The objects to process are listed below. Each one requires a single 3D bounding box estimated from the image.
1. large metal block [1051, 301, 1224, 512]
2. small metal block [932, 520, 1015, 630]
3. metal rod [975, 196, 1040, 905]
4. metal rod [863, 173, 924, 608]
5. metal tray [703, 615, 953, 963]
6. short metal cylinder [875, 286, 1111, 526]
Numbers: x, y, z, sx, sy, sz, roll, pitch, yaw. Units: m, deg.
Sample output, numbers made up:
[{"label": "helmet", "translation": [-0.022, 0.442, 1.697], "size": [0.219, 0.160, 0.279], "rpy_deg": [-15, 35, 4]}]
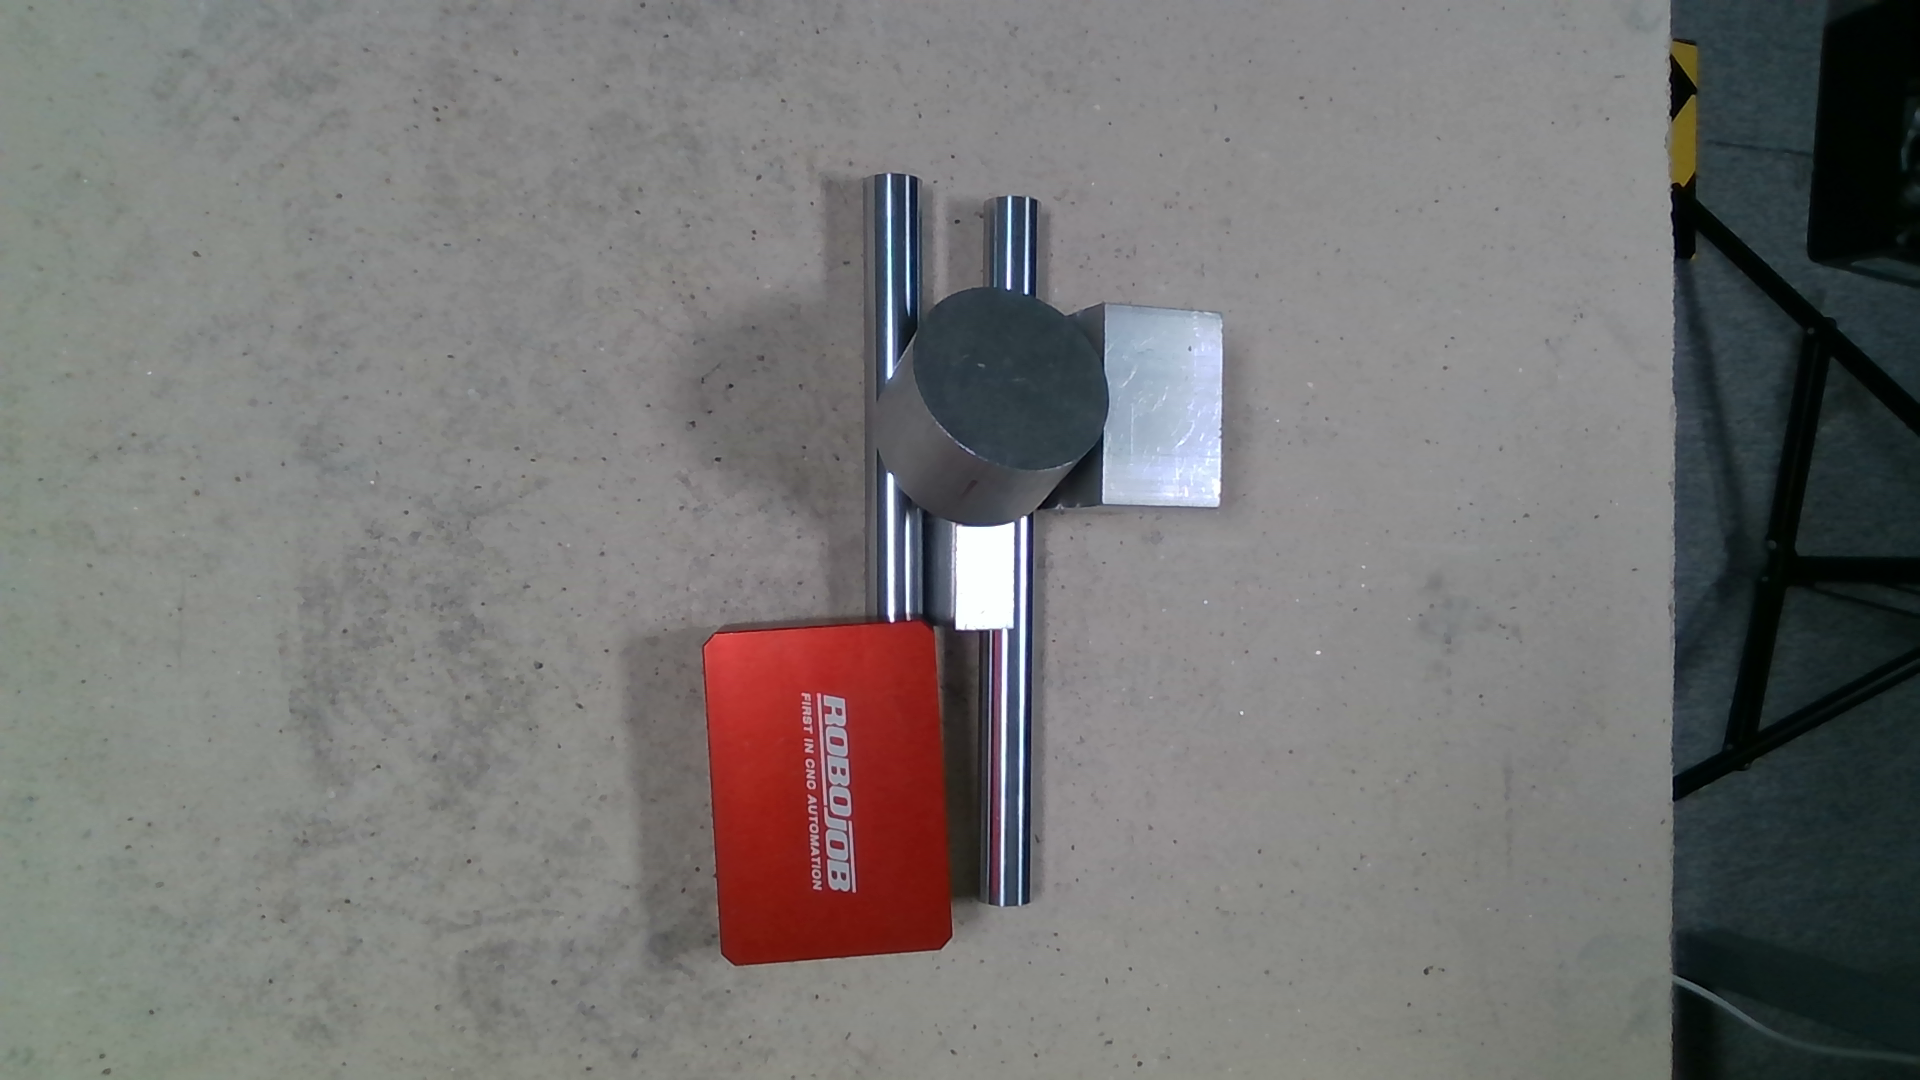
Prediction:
[{"label": "large metal block", "translation": [0.068, -0.053, 0.582], "size": [0.050, 0.080, 0.080], "rpy_deg": [1, 90, -20]}, {"label": "small metal block", "translation": [0.002, 0.011, 0.573], "size": [0.025, 0.050, 0.050], "rpy_deg": [1, 90, -20]}, {"label": "metal rod", "translation": [0.021, 0.005, 0.594], "size": [0.025, 0.025, 0.300], "rpy_deg": [1, 90, -20]}, {"label": "metal rod", "translation": [-0.028, 0.000, 0.576], "size": [0.025, 0.025, 0.300], "rpy_deg": [0, 90, -20]}, {"label": "metal tray", "translation": [-0.052, 0.097, 0.550], "size": [0.090, 0.030, 0.130], "rpy_deg": [-3, 93, -3]}, {"label": "short metal cylinder", "translation": [0.012, -0.052, 0.539], "size": [0.080, 0.050, 0.080], "rpy_deg": [9, 63, -18]}]
